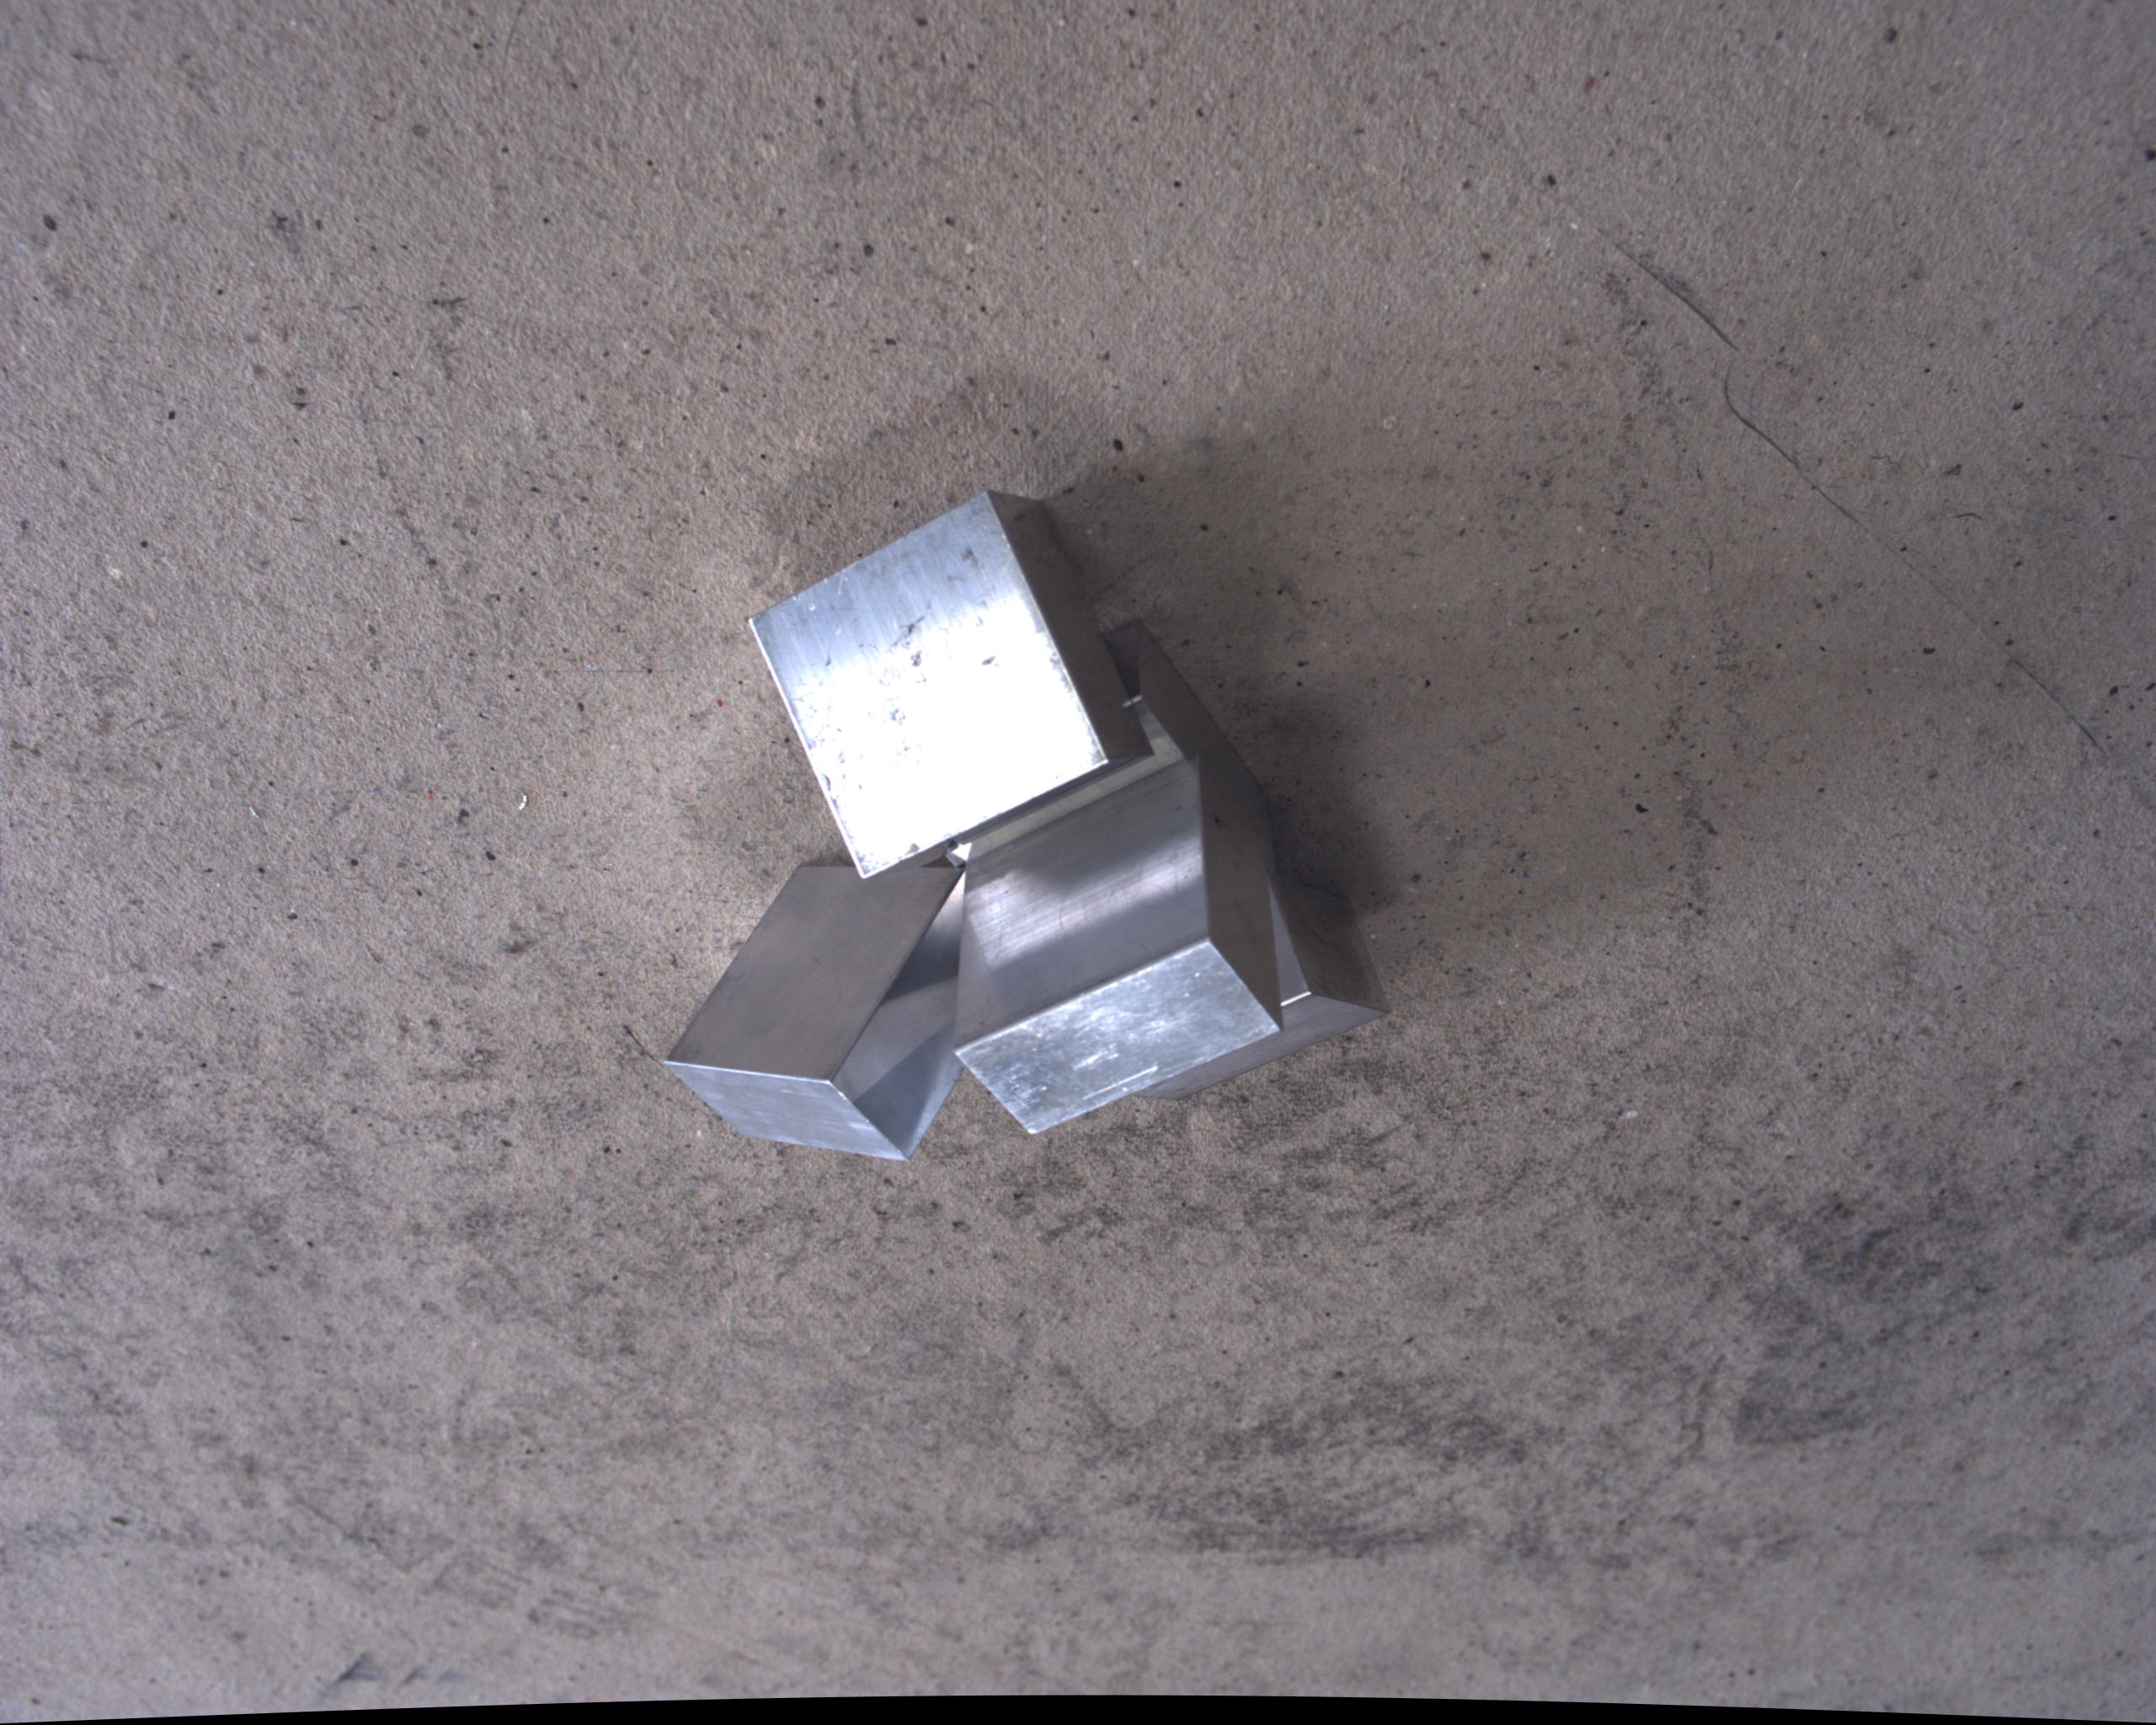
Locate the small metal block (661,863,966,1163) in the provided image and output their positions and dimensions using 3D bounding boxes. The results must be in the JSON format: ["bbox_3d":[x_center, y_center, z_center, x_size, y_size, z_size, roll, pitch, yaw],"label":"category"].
[{"bbox_3d":[-0.044,0.028,0.403,0.050,0.050,0.025,1,140,43],"label":"small metal block"}]

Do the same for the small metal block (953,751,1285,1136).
[{"bbox_3d":[0.007,0.014,0.372,0.050,0.050,0.025,-25,126,20],"label":"small metal block"}]

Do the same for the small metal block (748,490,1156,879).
[{"bbox_3d":[-0.022,-0.031,0.366,0.050,0.025,0.050,-25,86,20],"label":"small metal block"}]

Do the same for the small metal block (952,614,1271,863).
[{"bbox_3d":[0.002,-0.012,0.399,0.050,0.025,0.050,-24,126,21],"label":"small metal block"}]

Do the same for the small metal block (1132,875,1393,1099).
[{"bbox_3d":[0.028,0.026,0.415,0.050,0.025,0.050,-25,162,20],"label":"small metal block"}]
